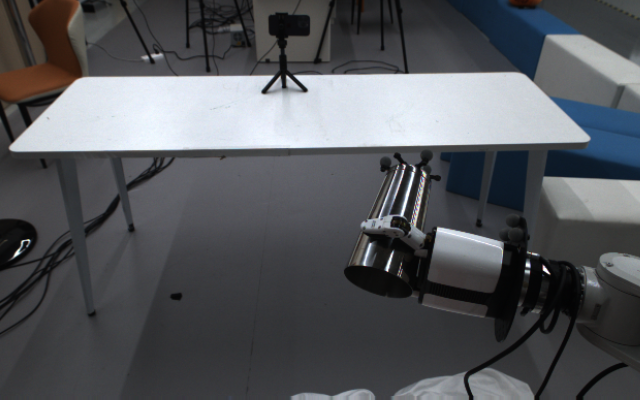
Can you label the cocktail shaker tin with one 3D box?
[{"bbox_3d":[0.101,0.036,0.660,0.093,0.093,0.170,13,59,16],"label":"cocktail shaker tin"}]
